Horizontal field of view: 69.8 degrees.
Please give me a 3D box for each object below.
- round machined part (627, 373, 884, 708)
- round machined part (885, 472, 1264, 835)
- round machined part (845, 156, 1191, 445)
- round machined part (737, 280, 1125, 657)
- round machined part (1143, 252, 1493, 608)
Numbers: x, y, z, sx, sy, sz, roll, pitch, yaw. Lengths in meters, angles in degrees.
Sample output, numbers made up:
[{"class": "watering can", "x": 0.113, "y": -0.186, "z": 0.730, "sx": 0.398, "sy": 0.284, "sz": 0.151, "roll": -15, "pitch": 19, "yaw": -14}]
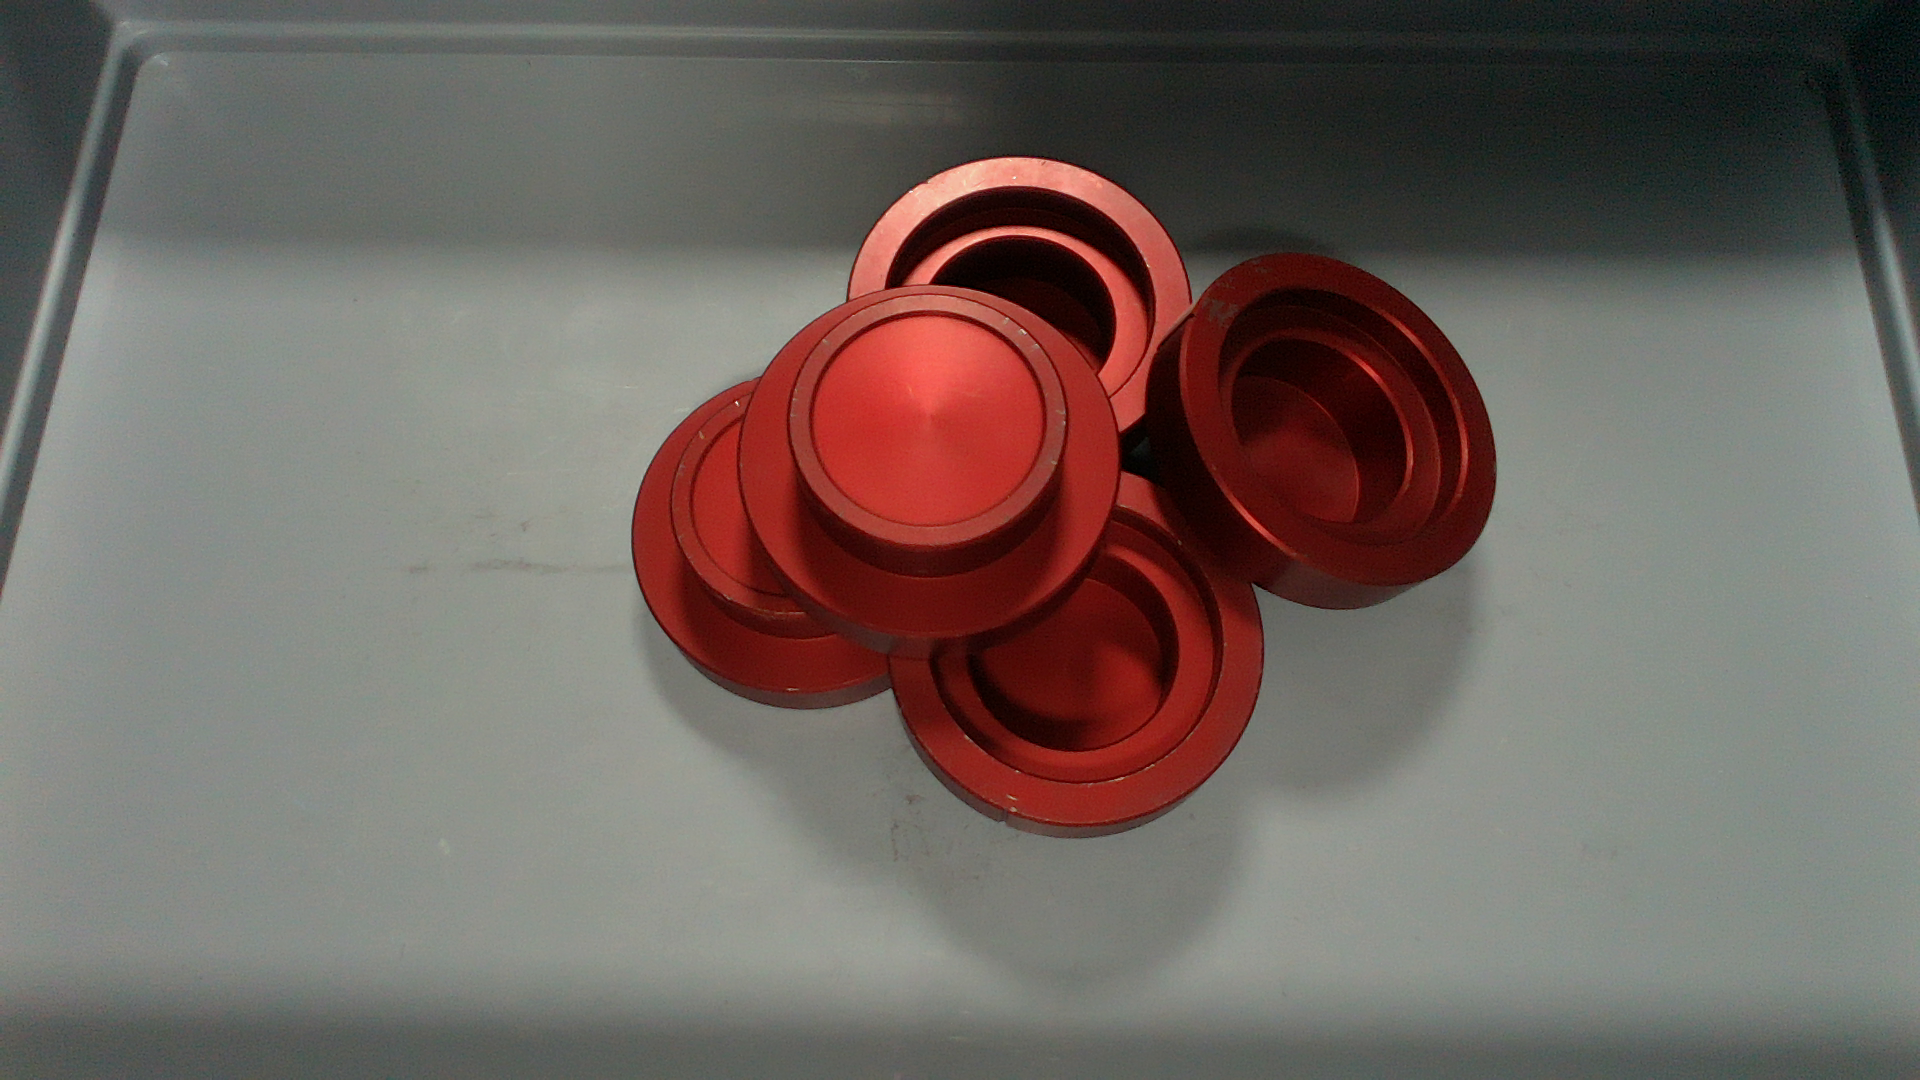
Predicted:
[{"class": "round machined part", "x": -0.044, "y": -0.005, "z": 0.384, "sx": 0.098, "sy": 0.042, "sz": 0.098, "roll": 0, "pitch": 70, "yaw": 0}, {"class": "round machined part", "x": 0.029, "y": 0.032, "z": 0.373, "sx": 0.098, "sy": 0.042, "sz": 0.098, "roll": 0, "pitch": 70, "yaw": 0}, {"class": "round machined part", "x": 0.016, "y": -0.060, "z": 0.406, "sx": 0.098, "sy": 0.042, "sz": 0.098, "roll": 0, "pitch": 70, "yaw": 0}, {"class": "round machined part", "x": -0.007, "y": -0.023, "z": 0.346, "sx": 0.098, "sy": 0.042, "sz": 0.098, "roll": 0, "pitch": 70, "yaw": 0}, {"class": "round machined part", "x": 0.094, "y": -0.027, "z": 0.383, "sx": 0.098, "sy": 0.042, "sz": 0.098, "roll": 8, "pitch": 66, "yaw": -19}]
